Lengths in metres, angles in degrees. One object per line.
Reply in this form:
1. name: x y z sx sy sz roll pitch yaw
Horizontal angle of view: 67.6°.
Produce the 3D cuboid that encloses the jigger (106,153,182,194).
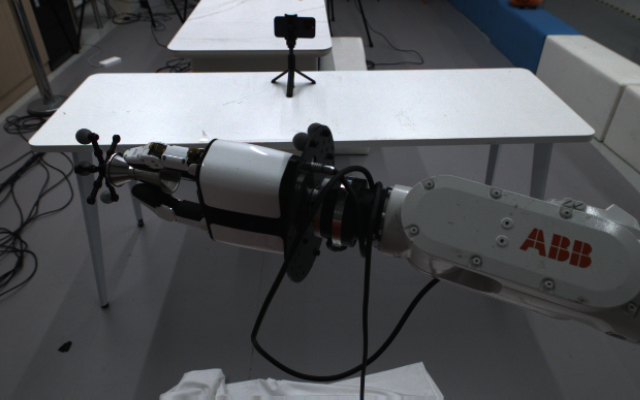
1. jigger: -0.192 -0.034 0.544 0.071 0.043 0.043 5 34 12
